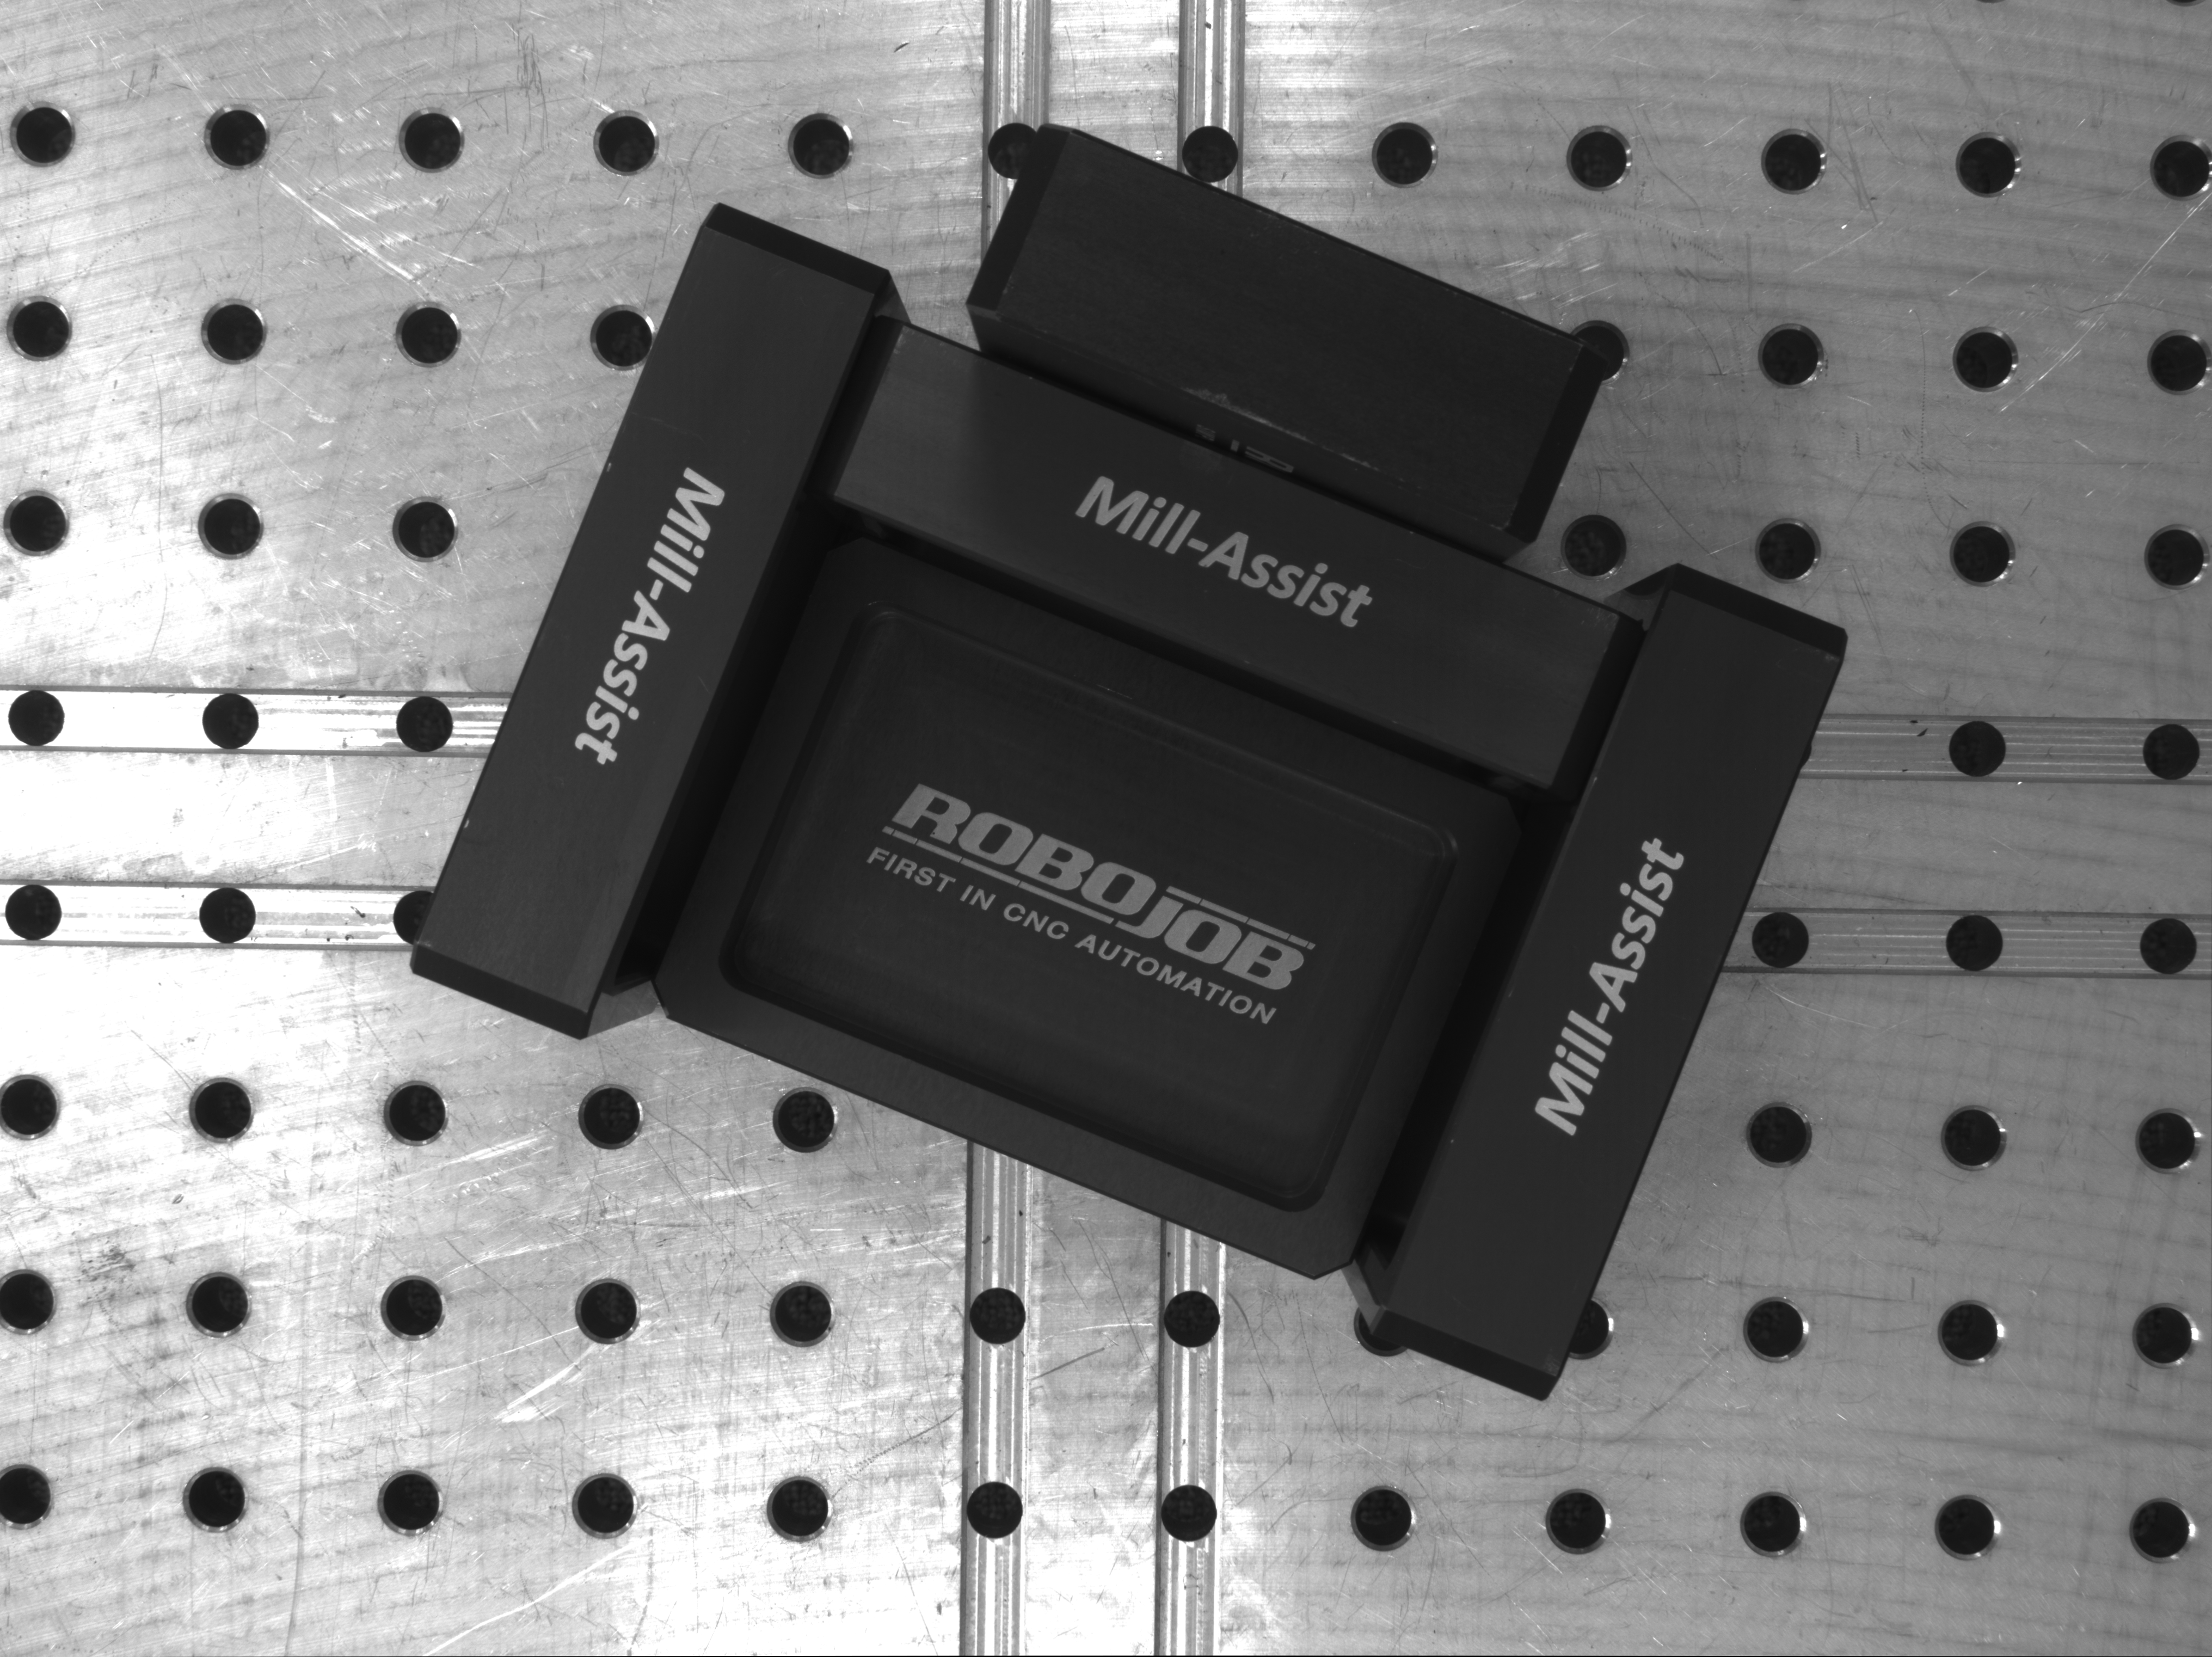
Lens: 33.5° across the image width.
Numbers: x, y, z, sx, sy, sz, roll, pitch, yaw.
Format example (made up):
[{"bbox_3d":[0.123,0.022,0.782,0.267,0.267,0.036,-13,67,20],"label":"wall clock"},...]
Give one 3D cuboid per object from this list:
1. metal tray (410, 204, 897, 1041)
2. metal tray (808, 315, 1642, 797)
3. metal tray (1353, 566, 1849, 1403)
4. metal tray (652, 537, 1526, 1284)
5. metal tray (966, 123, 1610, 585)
[{"bbox_3d":[-0.072,-0.032,0.615,0.030,0.090,0.130,22,90,0],"label":"metal tray"},{"bbox_3d":[0.019,-0.043,0.616,0.130,0.090,0.030,22,90,0],"label":"metal tray"},{"bbox_3d":[0.079,0.024,0.615,0.030,0.090,0.130,22,90,0],"label":"metal tray"},{"bbox_3d":[-0.003,0.014,0.645,0.130,0.030,0.090,22,90,0],"label":"metal tray"},{"bbox_3d":[0.027,-0.072,0.595,0.090,0.130,0.030,23,90,0],"label":"metal tray"}]
